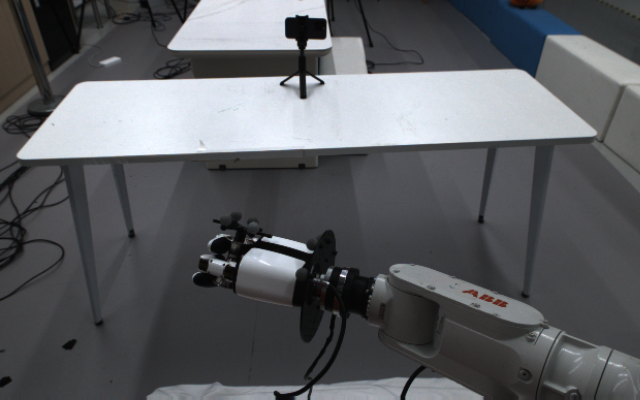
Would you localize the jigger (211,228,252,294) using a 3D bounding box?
[{"bbox_3d":[-0.125,0.090,0.702,0.043,0.071,0.043,17,2,-1],"label":"jigger"}]
